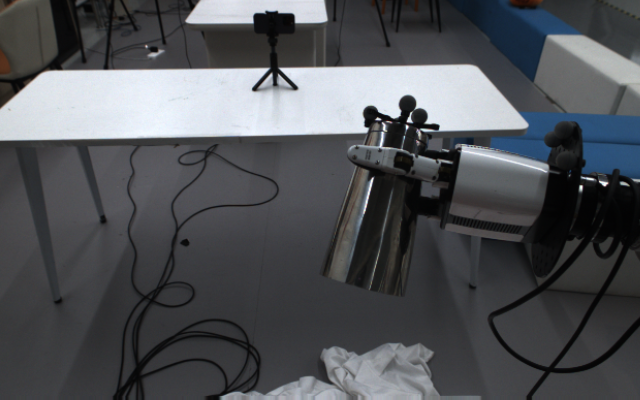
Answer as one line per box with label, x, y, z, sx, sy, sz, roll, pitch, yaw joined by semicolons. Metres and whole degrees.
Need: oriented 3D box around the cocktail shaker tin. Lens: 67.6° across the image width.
cocktail shaker tin;0.067;0.005;0.520;0.093;0.170;0.093;14;-5;1
